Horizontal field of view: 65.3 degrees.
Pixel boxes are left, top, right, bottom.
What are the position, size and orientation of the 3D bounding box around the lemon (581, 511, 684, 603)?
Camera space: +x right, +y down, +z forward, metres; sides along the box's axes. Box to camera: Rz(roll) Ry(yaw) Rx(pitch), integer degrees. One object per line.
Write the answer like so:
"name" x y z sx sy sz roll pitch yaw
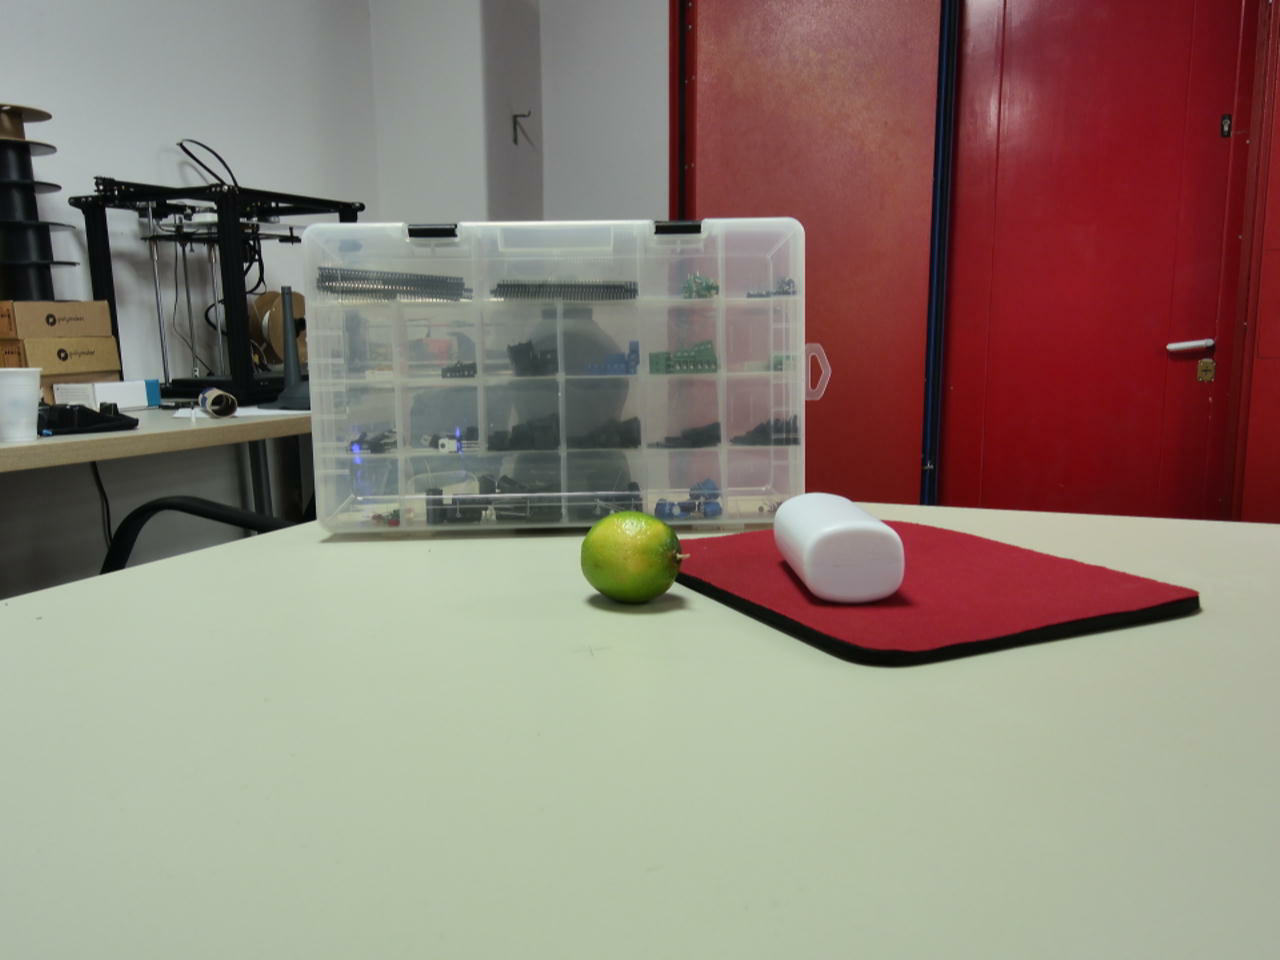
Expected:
"lemon" -0.005 0.043 0.558 0.054 0.050 0.055 -3 6 -16
